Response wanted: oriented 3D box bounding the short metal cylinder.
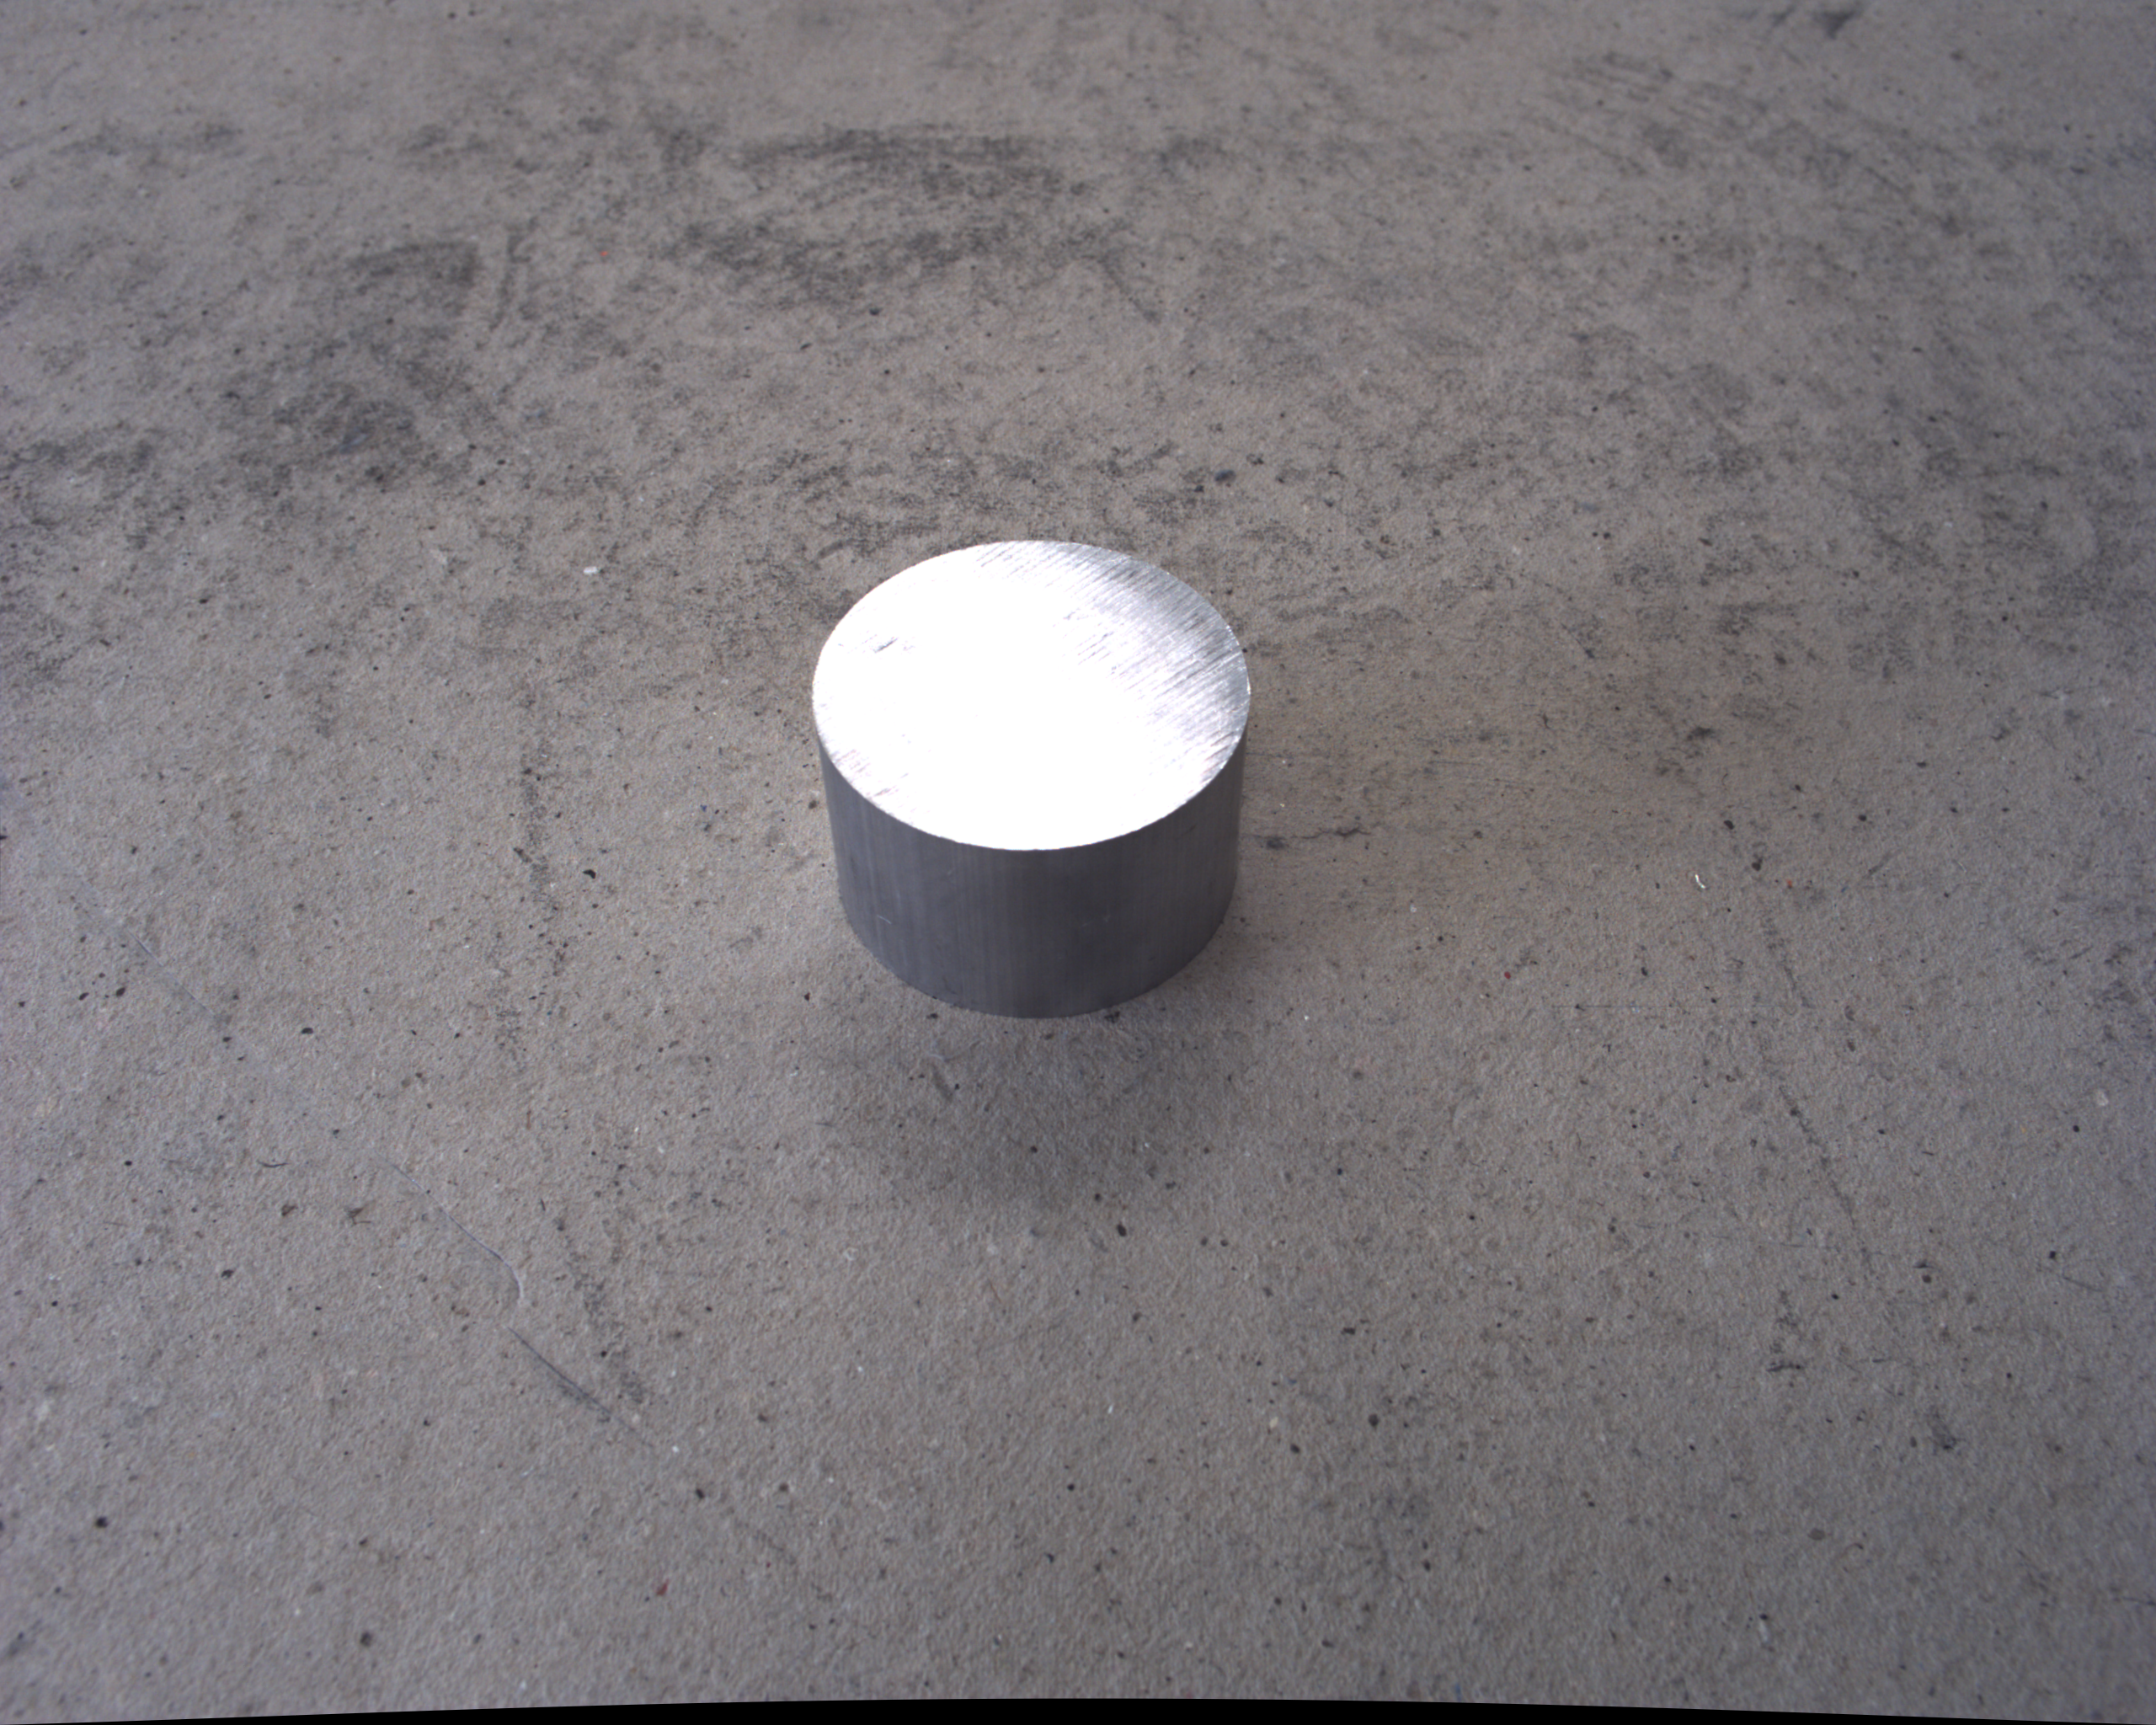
[{"bbox_3d":[-0.009,-0.017,0.403,0.080,0.050,0.080,1,50,-1],"label":"short metal cylinder"}]
